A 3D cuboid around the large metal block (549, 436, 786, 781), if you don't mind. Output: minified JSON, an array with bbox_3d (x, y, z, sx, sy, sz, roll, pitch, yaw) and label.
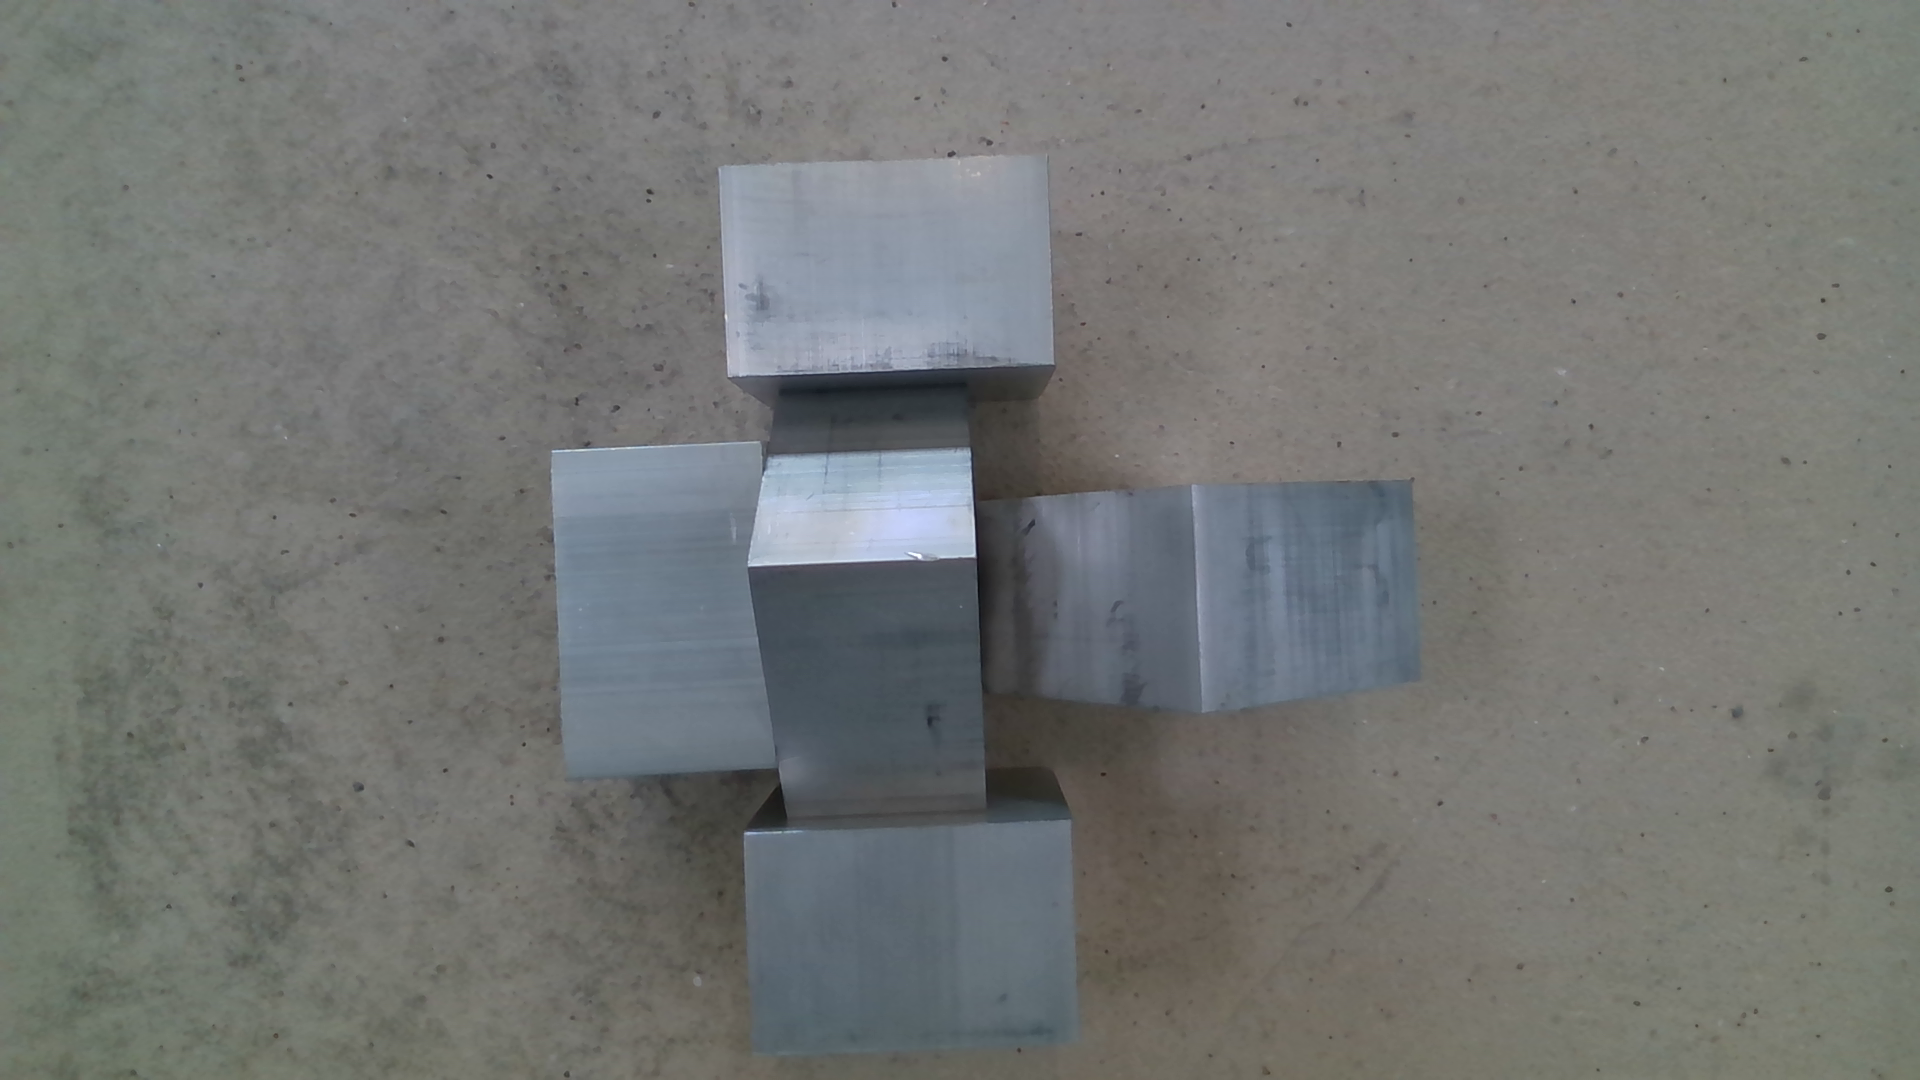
[{"bbox_3d":[-0.071,0.017,0.369,0.050,0.080,0.080,-3,90,0],"label":"large metal block"}]

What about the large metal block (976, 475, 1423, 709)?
[{"bbox_3d":[0.059,0.011,0.353,0.080,0.080,0.050,-3,90,-37],"label":"large metal block"}]

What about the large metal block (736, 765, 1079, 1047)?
[{"bbox_3d":[-0.013,0.094,0.368,0.080,0.080,0.050,-2,91,-1],"label":"large metal block"}]

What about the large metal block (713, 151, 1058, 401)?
[{"bbox_3d":[-0.018,-0.066,0.367,0.080,0.080,0.050,-2,90,0],"label":"large metal block"}]

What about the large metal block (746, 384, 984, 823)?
[{"bbox_3d":[-0.022,0.014,0.354,0.050,0.080,0.080,-2,125,-1],"label":"large metal block"}]
